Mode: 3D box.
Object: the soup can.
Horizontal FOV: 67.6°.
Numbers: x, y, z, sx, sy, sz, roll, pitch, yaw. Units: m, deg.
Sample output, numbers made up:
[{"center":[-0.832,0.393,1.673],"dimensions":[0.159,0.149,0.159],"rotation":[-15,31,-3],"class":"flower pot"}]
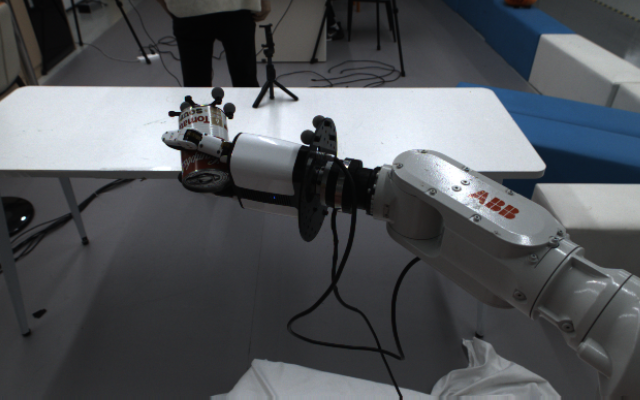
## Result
[{"center":[-0.155,-0.068,0.657],"dimensions":[0.067,0.067,0.101],"rotation":[-6,68,-12],"class":"soup can"}]
